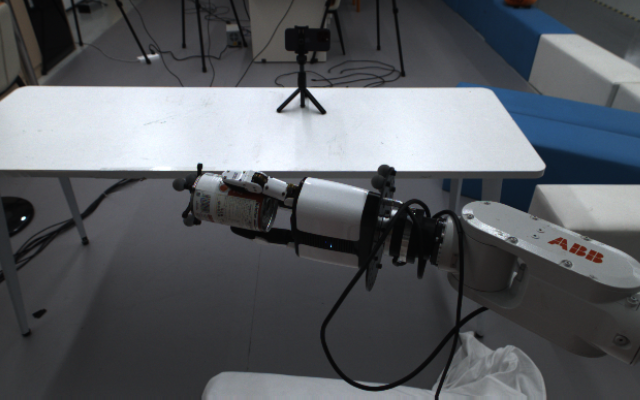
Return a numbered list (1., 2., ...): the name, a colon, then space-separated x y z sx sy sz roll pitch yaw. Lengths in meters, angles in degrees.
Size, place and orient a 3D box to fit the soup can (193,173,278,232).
1. soup can: -0.113 0.004 0.657 0.101 0.067 0.067 10 35 10
